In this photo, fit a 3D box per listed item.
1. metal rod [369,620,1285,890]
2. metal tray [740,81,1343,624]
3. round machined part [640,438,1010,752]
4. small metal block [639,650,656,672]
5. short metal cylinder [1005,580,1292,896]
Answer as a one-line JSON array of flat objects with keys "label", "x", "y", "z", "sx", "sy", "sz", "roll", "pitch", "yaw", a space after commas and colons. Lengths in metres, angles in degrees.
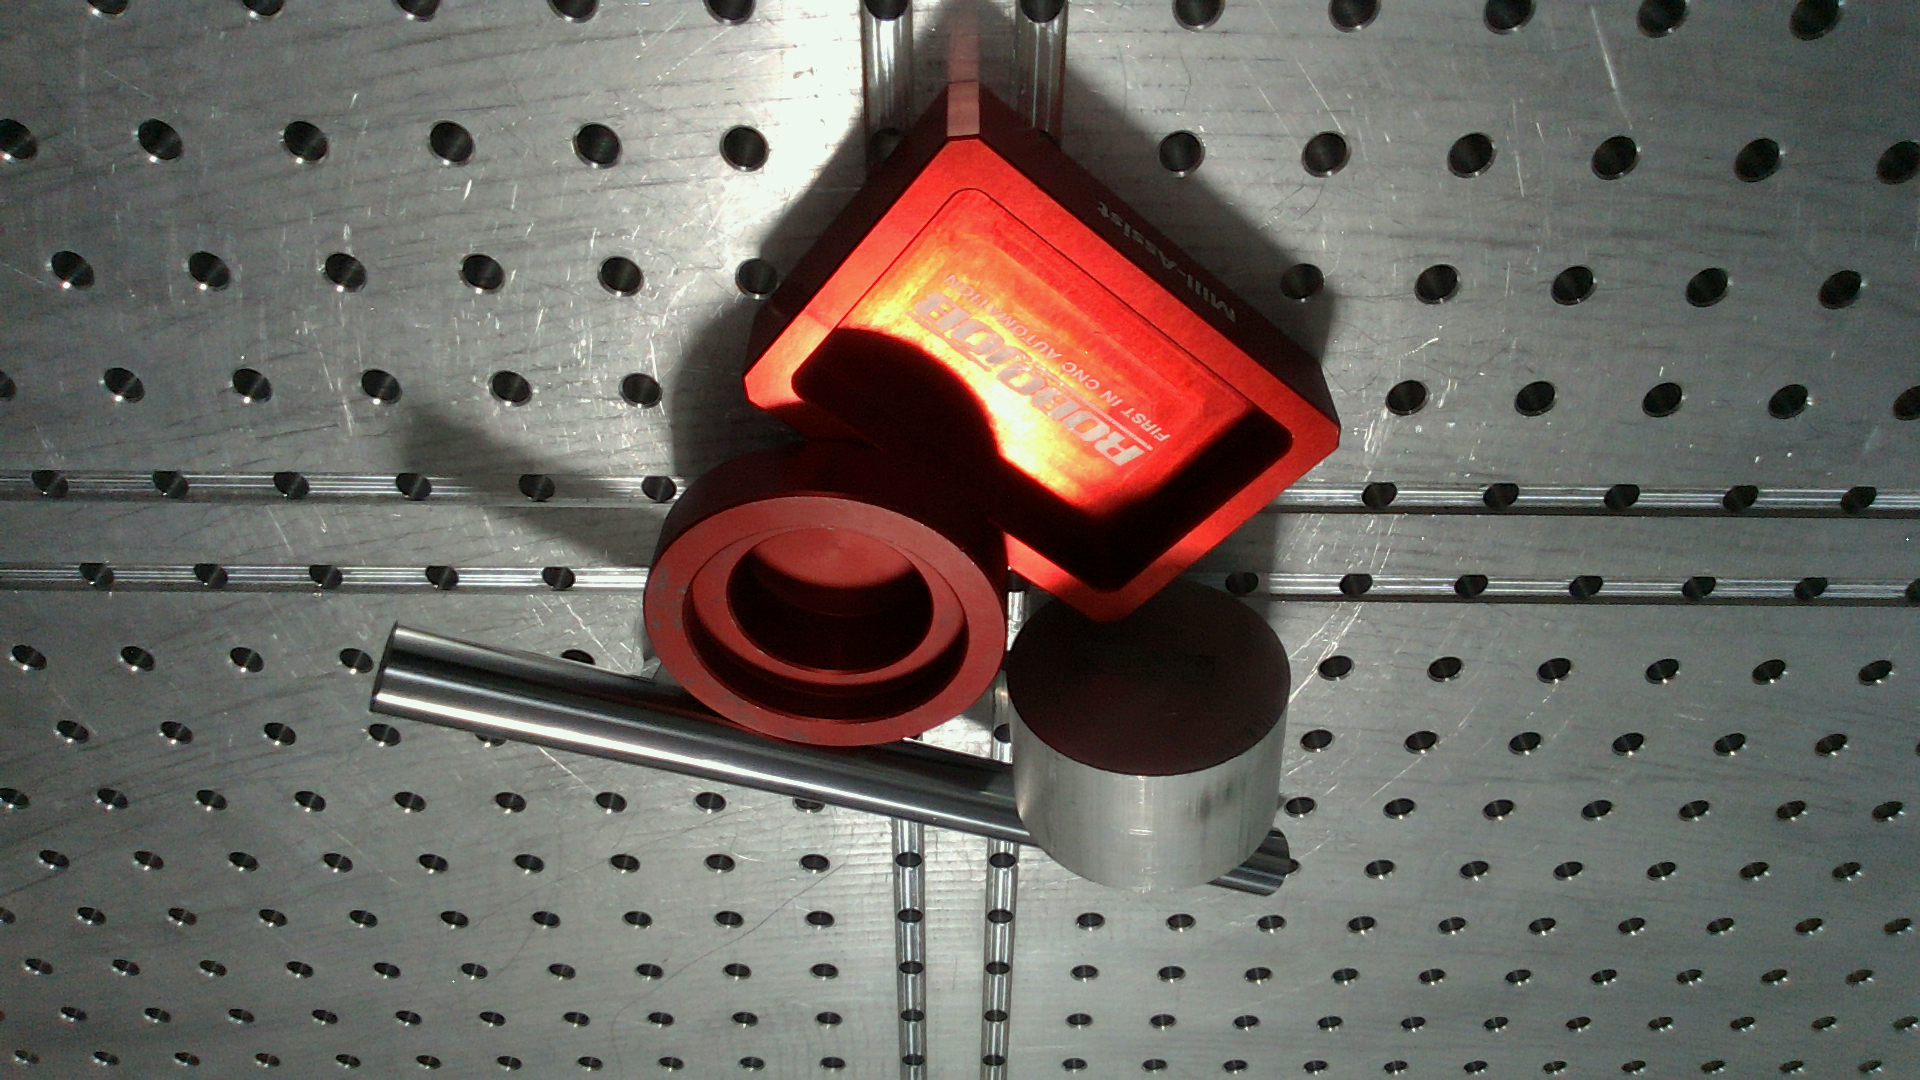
[{"label": "metal rod", "x": -0.023, "y": 0.073, "z": 0.428, "sx": 0.301, "sy": 0.025, "sz": 0.025, "roll": 17, "pitch": 129, "yaw": -25}, {"label": "metal tray", "x": 0.022, "y": -0.041, "z": 0.355, "sx": 0.130, "sy": 0.030, "sz": 0.090, "roll": 33, "pitch": 122, "yaw": -24}, {"label": "round machined part", "x": -0.035, "y": 0.011, "z": 0.381, "sx": 0.098, "sy": 0.042, "sz": 0.098, "roll": 1, "pitch": 130, "yaw": 2}, {"label": "small metal block", "x": -0.069, "y": 0.039, "z": 0.427, "sx": 0.050, "sy": 0.025, "sz": 0.050, "roll": 22, "pitch": 127, "yaw": -18}, {"label": "short metal cylinder", "x": 0.054, "y": 0.056, "z": 0.403, "sx": 0.080, "sy": 0.080, "sz": 0.050, "roll": -3, "pitch": 130, "yaw": 2}]
